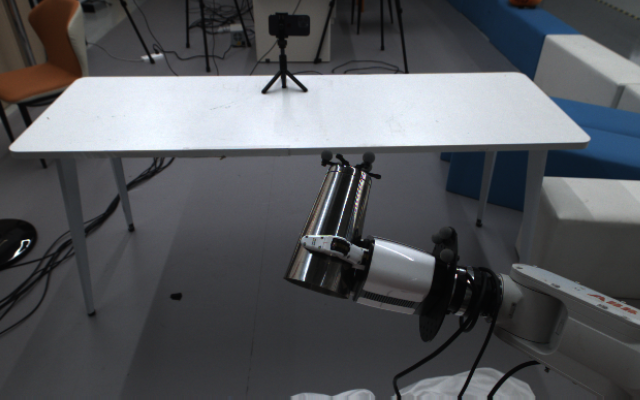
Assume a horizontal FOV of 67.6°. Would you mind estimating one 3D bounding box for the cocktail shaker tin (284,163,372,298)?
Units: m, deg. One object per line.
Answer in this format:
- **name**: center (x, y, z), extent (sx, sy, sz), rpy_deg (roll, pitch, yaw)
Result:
- **cocktail shaker tin**: center (0.017, 0.041, 0.672), extent (0.093, 0.093, 0.170), rpy_deg (13, 73, 16)
